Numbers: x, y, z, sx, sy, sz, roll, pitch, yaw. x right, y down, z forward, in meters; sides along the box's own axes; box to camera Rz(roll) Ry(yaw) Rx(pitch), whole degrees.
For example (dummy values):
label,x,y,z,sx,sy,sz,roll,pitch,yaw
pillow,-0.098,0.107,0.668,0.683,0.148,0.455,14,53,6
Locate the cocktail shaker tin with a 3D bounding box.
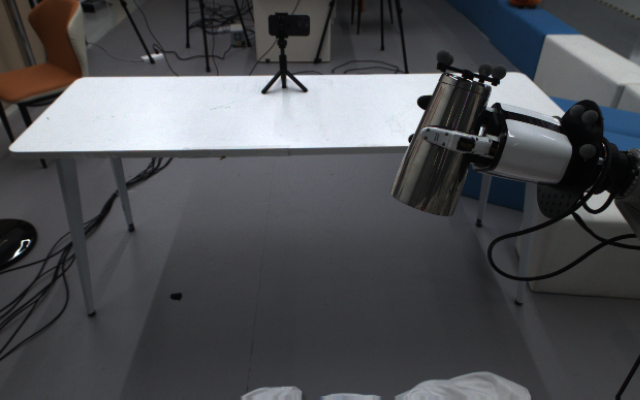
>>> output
label,x,y,z,sx,sy,sz,roll,pitch,yaw
cocktail shaker tin,0.164,-0.076,0.641,0.093,0.170,0.093,15,17,-5
